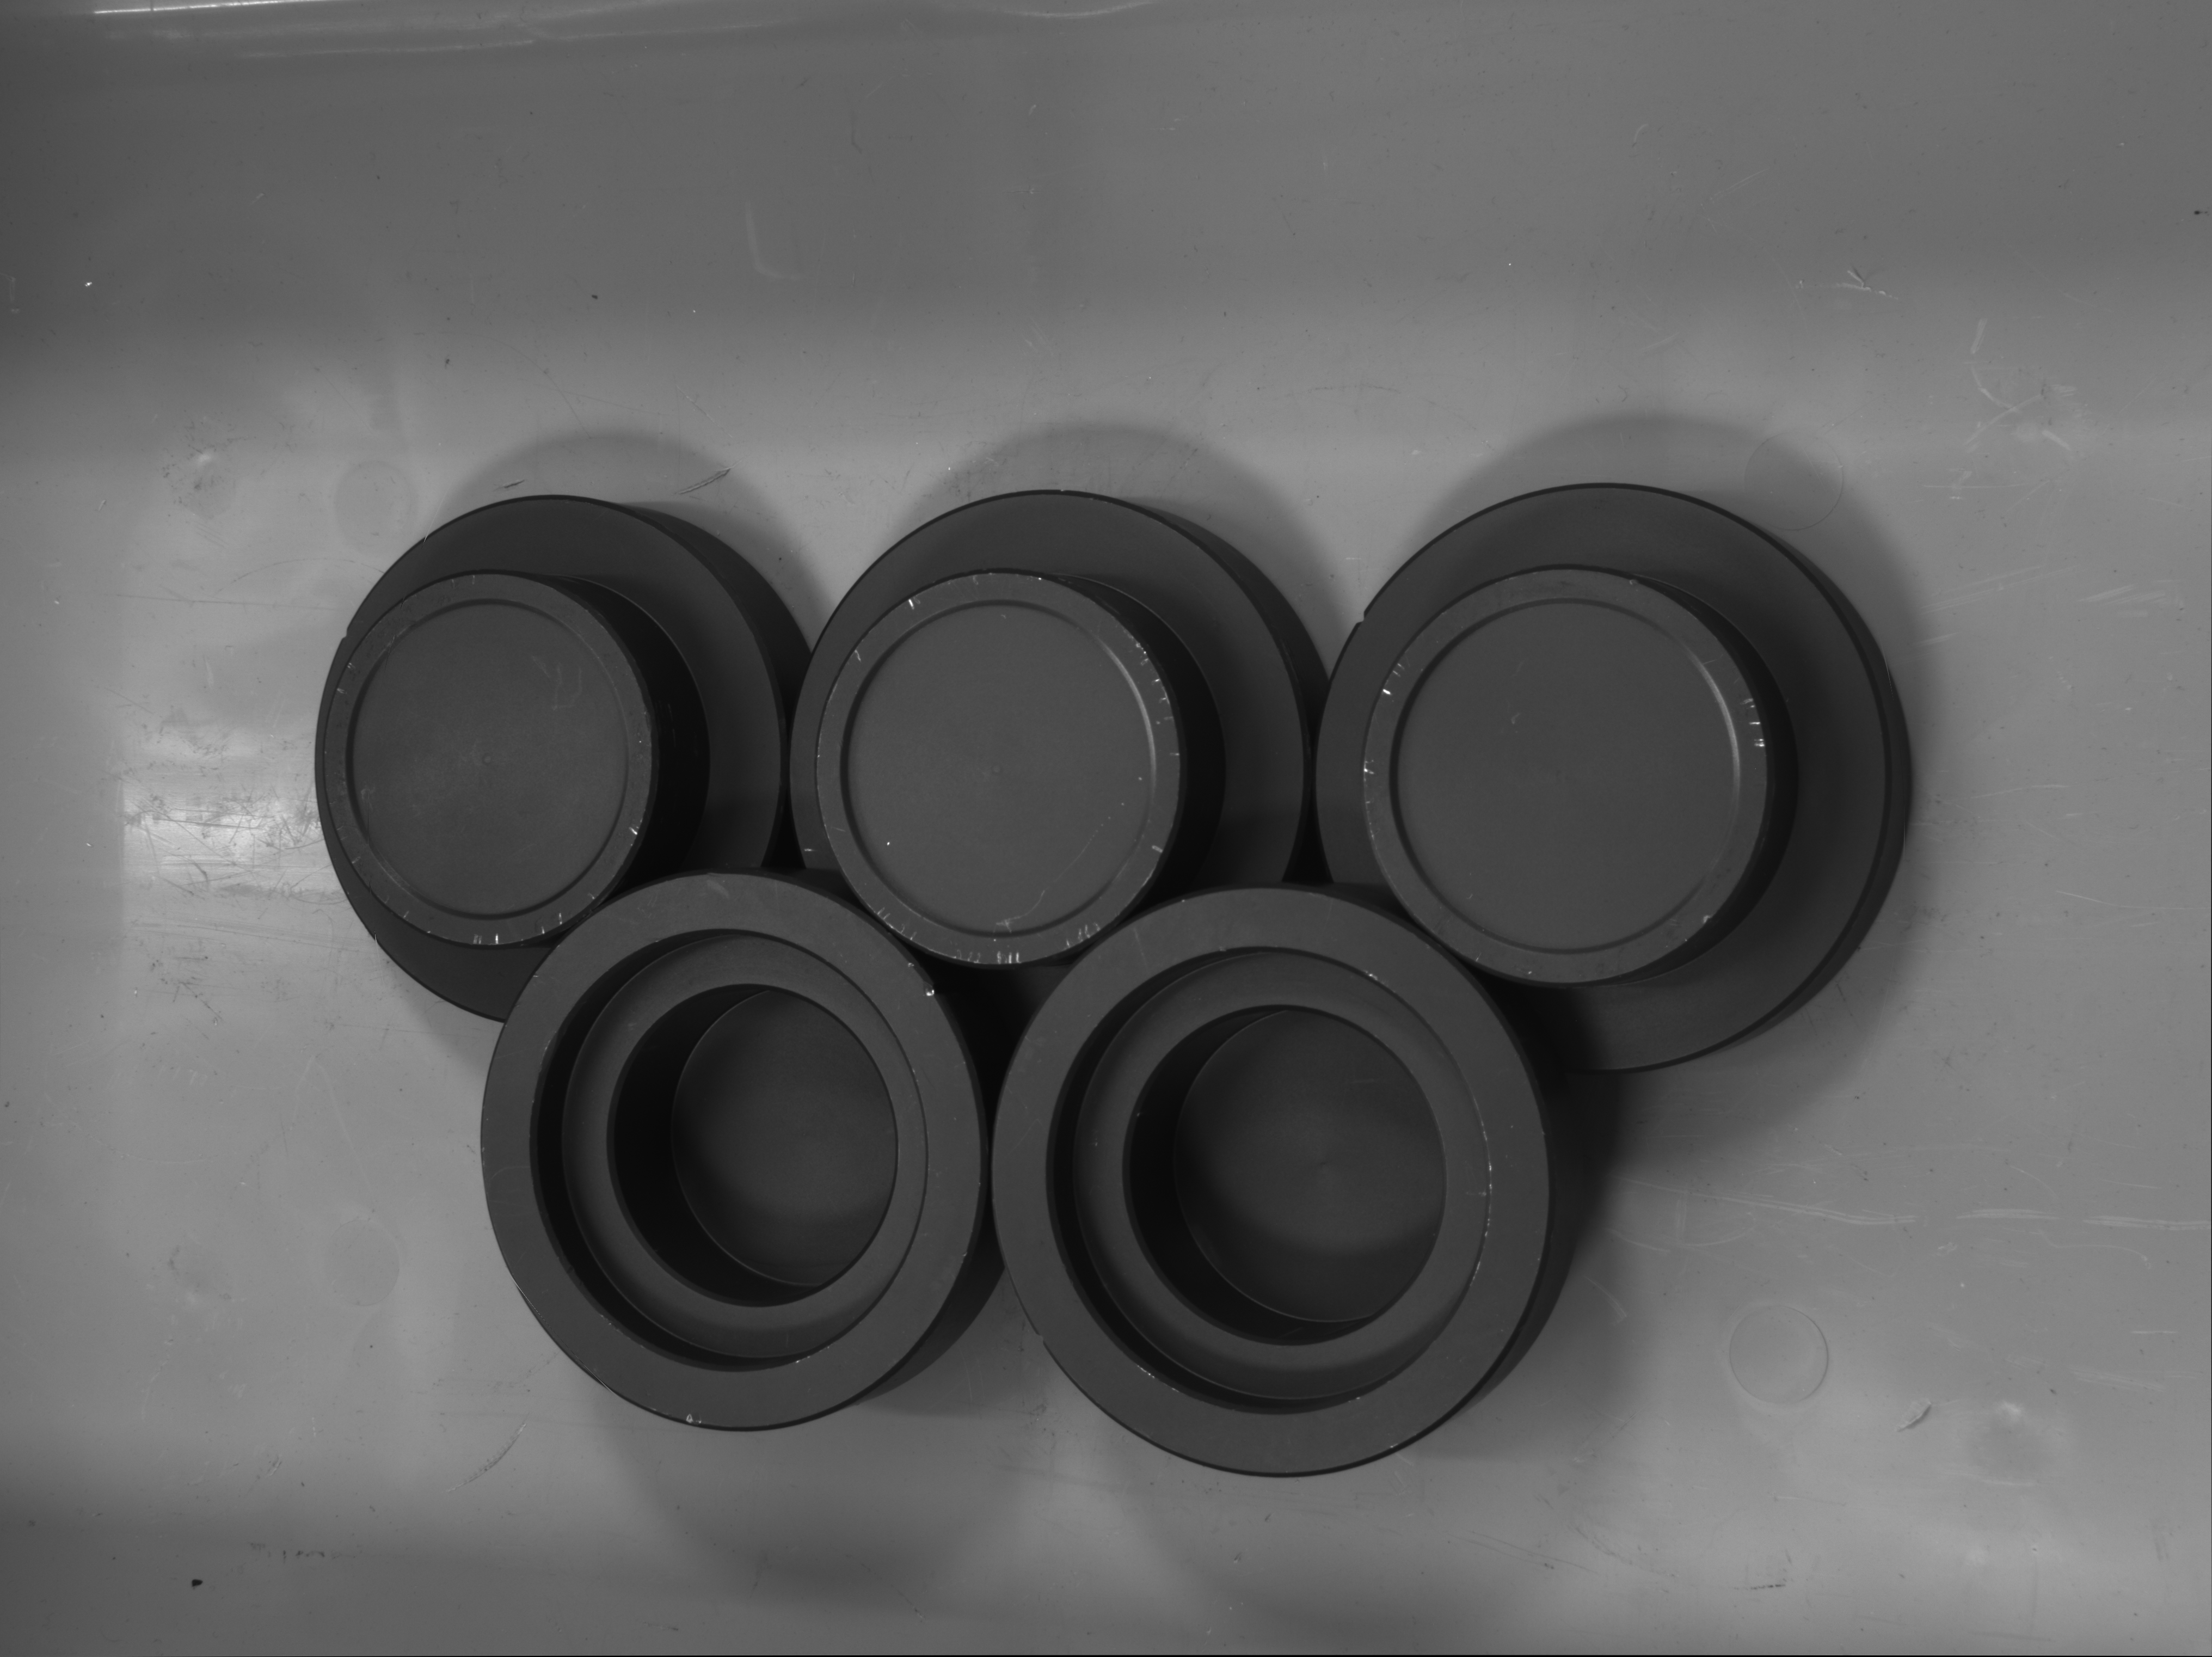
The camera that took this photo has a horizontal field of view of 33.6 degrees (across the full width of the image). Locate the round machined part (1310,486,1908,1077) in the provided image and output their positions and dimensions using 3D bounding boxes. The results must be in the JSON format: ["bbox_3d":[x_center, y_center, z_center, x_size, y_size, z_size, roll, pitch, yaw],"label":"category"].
[{"bbox_3d":[0.080,-0.008,0.606,0.098,0.042,0.098,0,89,21],"label":"round machined part"}]

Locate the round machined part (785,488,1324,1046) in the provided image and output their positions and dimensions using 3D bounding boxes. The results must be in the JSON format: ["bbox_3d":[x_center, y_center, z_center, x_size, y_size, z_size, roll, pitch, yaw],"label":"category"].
[{"bbox_3d":[-0.012,-0.011,0.640,0.098,0.042,0.098,0,89,21],"label":"round machined part"}]

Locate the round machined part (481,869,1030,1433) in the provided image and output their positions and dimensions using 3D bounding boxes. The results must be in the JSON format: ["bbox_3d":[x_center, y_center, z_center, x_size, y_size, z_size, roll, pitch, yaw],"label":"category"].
[{"bbox_3d":[-0.059,0.056,0.657,0.098,0.042,0.098,0,90,20],"label":"round machined part"}]

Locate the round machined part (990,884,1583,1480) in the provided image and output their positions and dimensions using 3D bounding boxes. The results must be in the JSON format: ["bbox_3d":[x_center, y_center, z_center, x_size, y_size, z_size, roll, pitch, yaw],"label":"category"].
[{"bbox_3d":[0.033,0.058,0.623,0.098,0.042,0.098,0,90,20],"label":"round machined part"}]

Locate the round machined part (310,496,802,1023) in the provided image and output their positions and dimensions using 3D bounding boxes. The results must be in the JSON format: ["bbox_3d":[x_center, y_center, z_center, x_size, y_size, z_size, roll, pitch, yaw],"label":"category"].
[{"bbox_3d":[-0.104,-0.012,0.672,0.098,0.042,0.098,0,89,19],"label":"round machined part"}]
